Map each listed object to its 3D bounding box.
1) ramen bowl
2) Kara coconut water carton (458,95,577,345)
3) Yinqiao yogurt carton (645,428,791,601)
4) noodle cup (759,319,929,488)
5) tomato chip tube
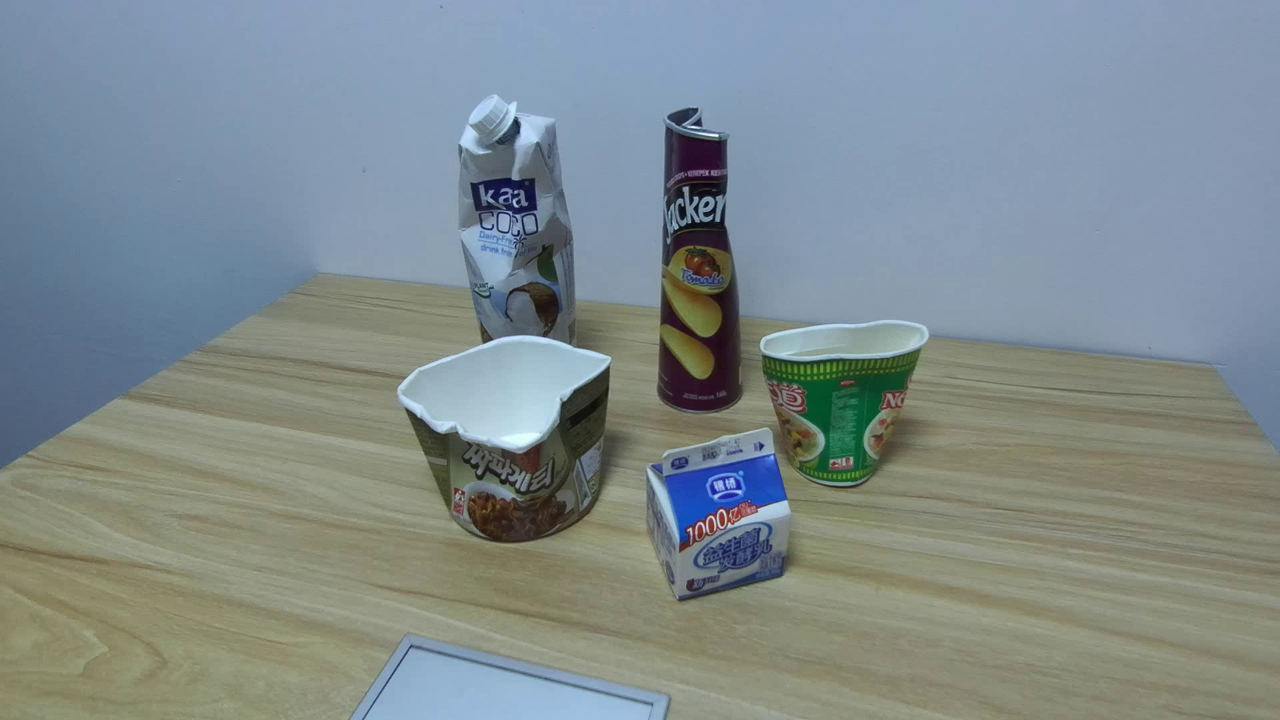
[{"bbox_3d":[-0.096,0.053,0.504,0.133,0.098,0.114,10,36,16],"label":"ramen bowl"},{"bbox_3d":[-0.102,-0.091,0.588,0.083,0.256,0.078,10,36,17],"label":"Kara coconut water carton"},{"bbox_3d":[0.048,0.087,0.446,0.076,0.092,0.073,-10,32,-11],"label":"Yinqiao yogurt carton"},{"bbox_3d":[0.144,0.029,0.516,0.115,0.111,0.070,5,32,11],"label":"noodle cup"},{"bbox_3d":[0.051,-0.074,0.574,0.076,0.235,0.078,19,35,32],"label":"tomato chip tube"}]
